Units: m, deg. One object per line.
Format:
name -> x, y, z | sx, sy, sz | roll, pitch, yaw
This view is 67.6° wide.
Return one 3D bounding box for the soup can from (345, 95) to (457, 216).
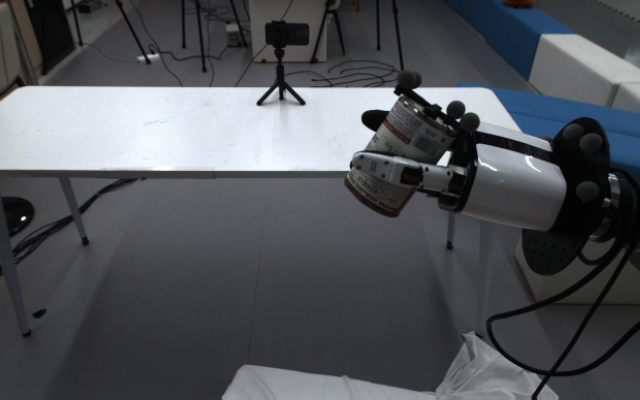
soup can -> 0.081, -0.043, 0.481 | 0.067, 0.101, 0.067 | 28, 22, -12
